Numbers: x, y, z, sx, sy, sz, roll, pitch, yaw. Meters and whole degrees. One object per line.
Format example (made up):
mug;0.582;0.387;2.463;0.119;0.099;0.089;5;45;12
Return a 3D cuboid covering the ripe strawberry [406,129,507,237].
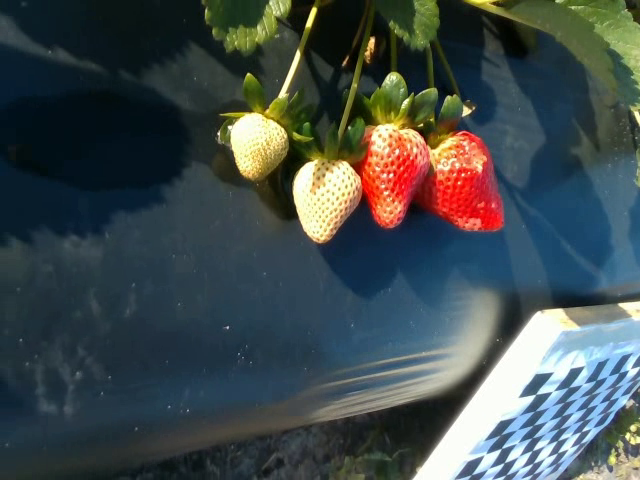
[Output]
ripe strawberry;0.079;-0.028;0.321;0.056;0.067;0.052;-37;-2;-4

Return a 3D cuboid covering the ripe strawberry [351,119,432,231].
ripe strawberry;0.034;-0.031;0.290;0.043;0.061;0.050;-5;-21;31
